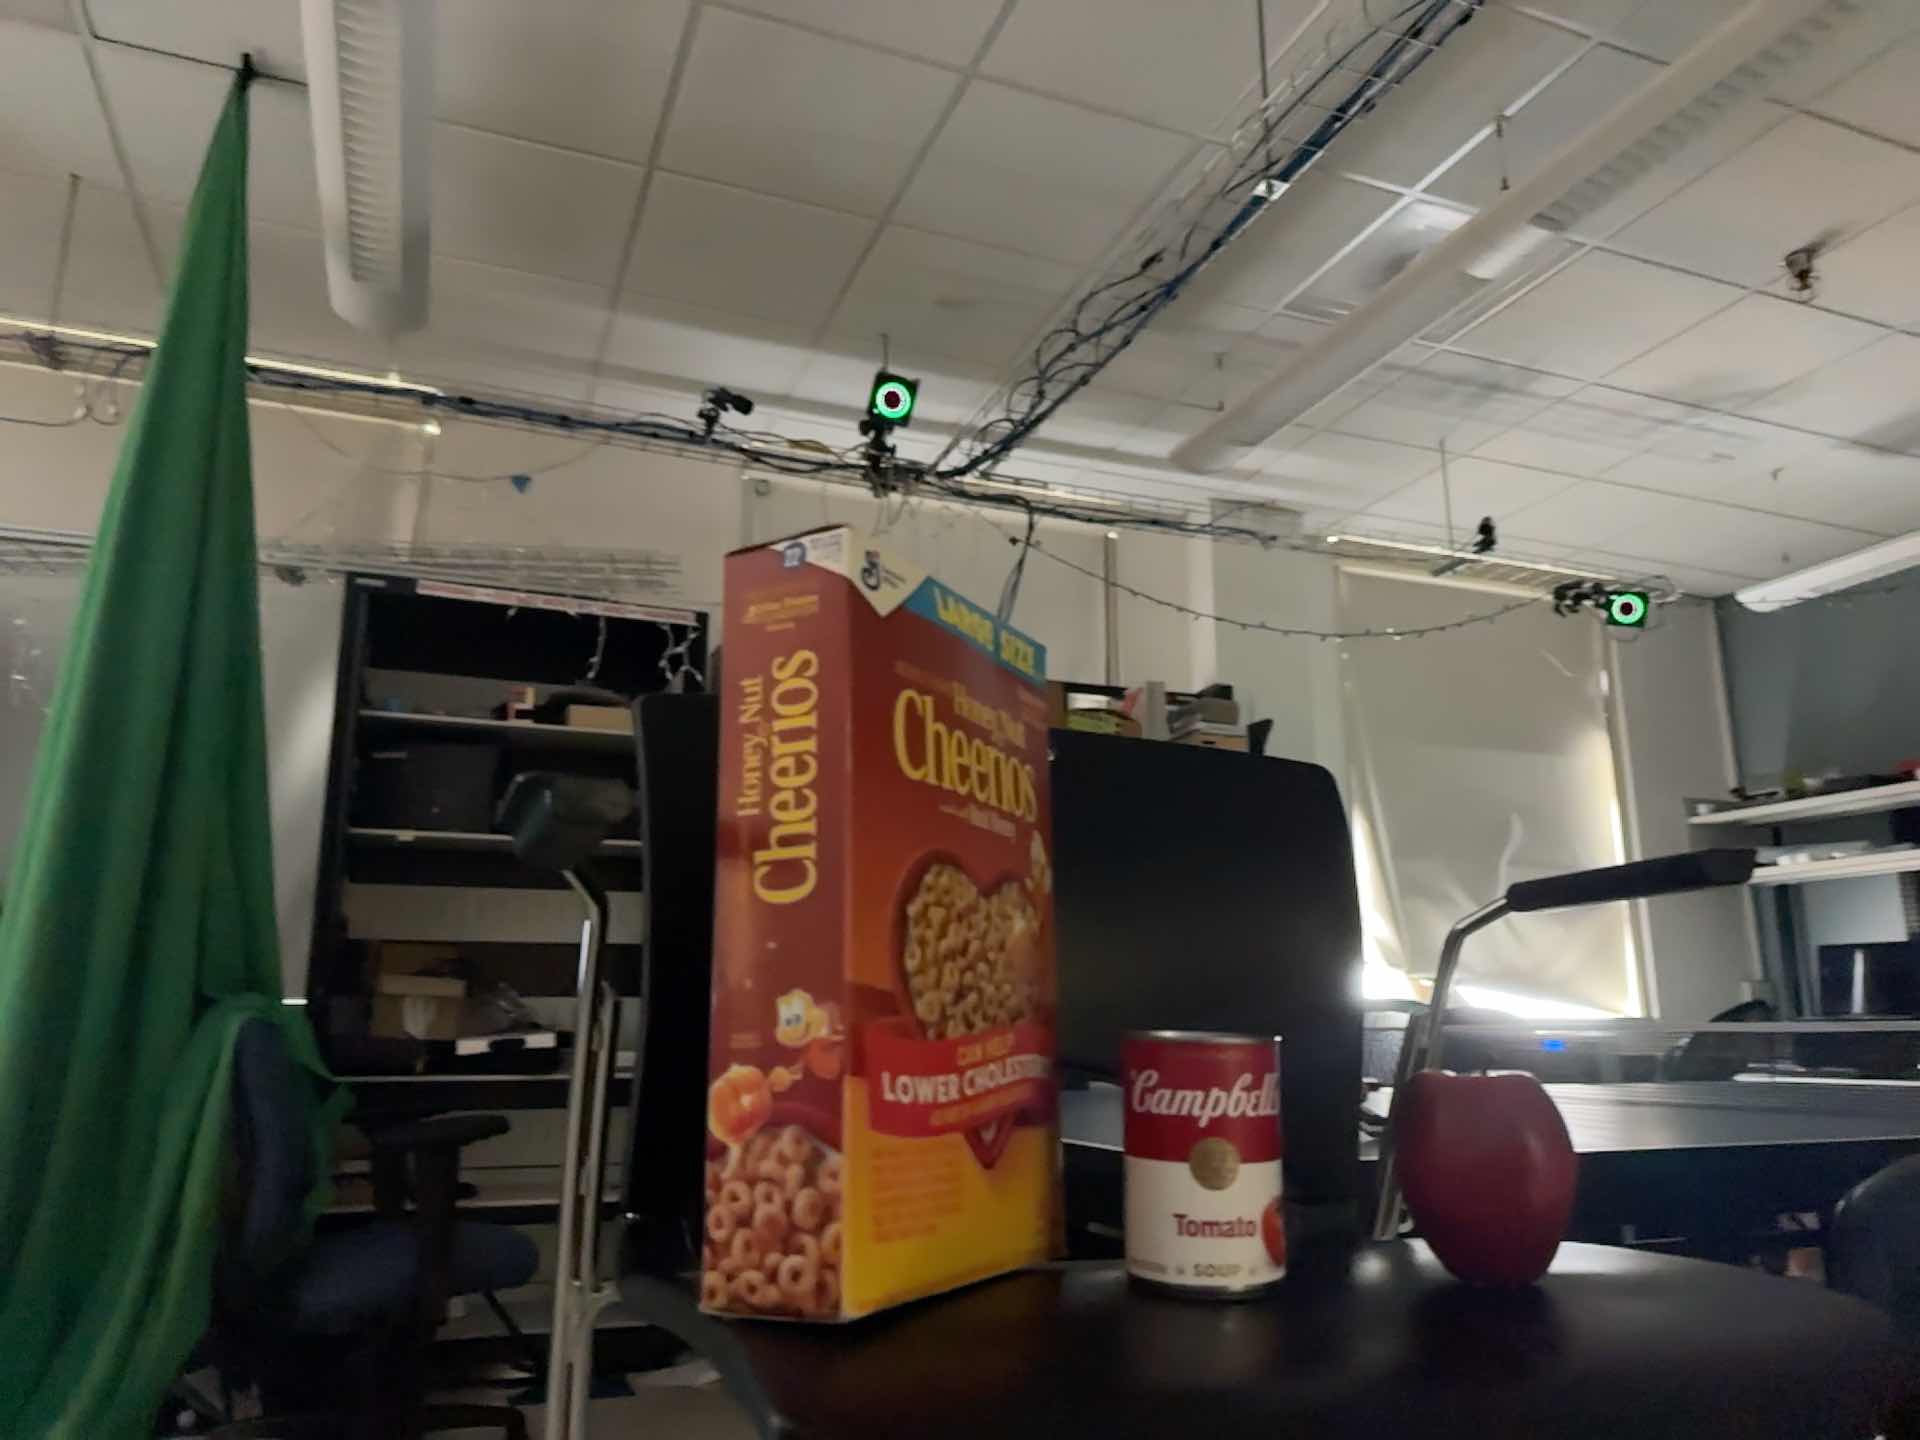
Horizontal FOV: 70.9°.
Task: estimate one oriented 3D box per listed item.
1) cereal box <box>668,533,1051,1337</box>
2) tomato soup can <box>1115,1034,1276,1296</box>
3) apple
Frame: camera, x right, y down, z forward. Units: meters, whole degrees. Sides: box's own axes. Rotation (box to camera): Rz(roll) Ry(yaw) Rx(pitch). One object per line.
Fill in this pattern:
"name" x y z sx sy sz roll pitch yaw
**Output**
"cereal box" -0.033 0.091 0.605 0.065 0.297 0.195 -6 -14 28
"tomato soup can" 0.101 0.189 0.584 0.067 0.102 0.067 1 -10 0
"apple" 0.230 0.196 0.597 0.079 0.093 0.079 1 -6 0
